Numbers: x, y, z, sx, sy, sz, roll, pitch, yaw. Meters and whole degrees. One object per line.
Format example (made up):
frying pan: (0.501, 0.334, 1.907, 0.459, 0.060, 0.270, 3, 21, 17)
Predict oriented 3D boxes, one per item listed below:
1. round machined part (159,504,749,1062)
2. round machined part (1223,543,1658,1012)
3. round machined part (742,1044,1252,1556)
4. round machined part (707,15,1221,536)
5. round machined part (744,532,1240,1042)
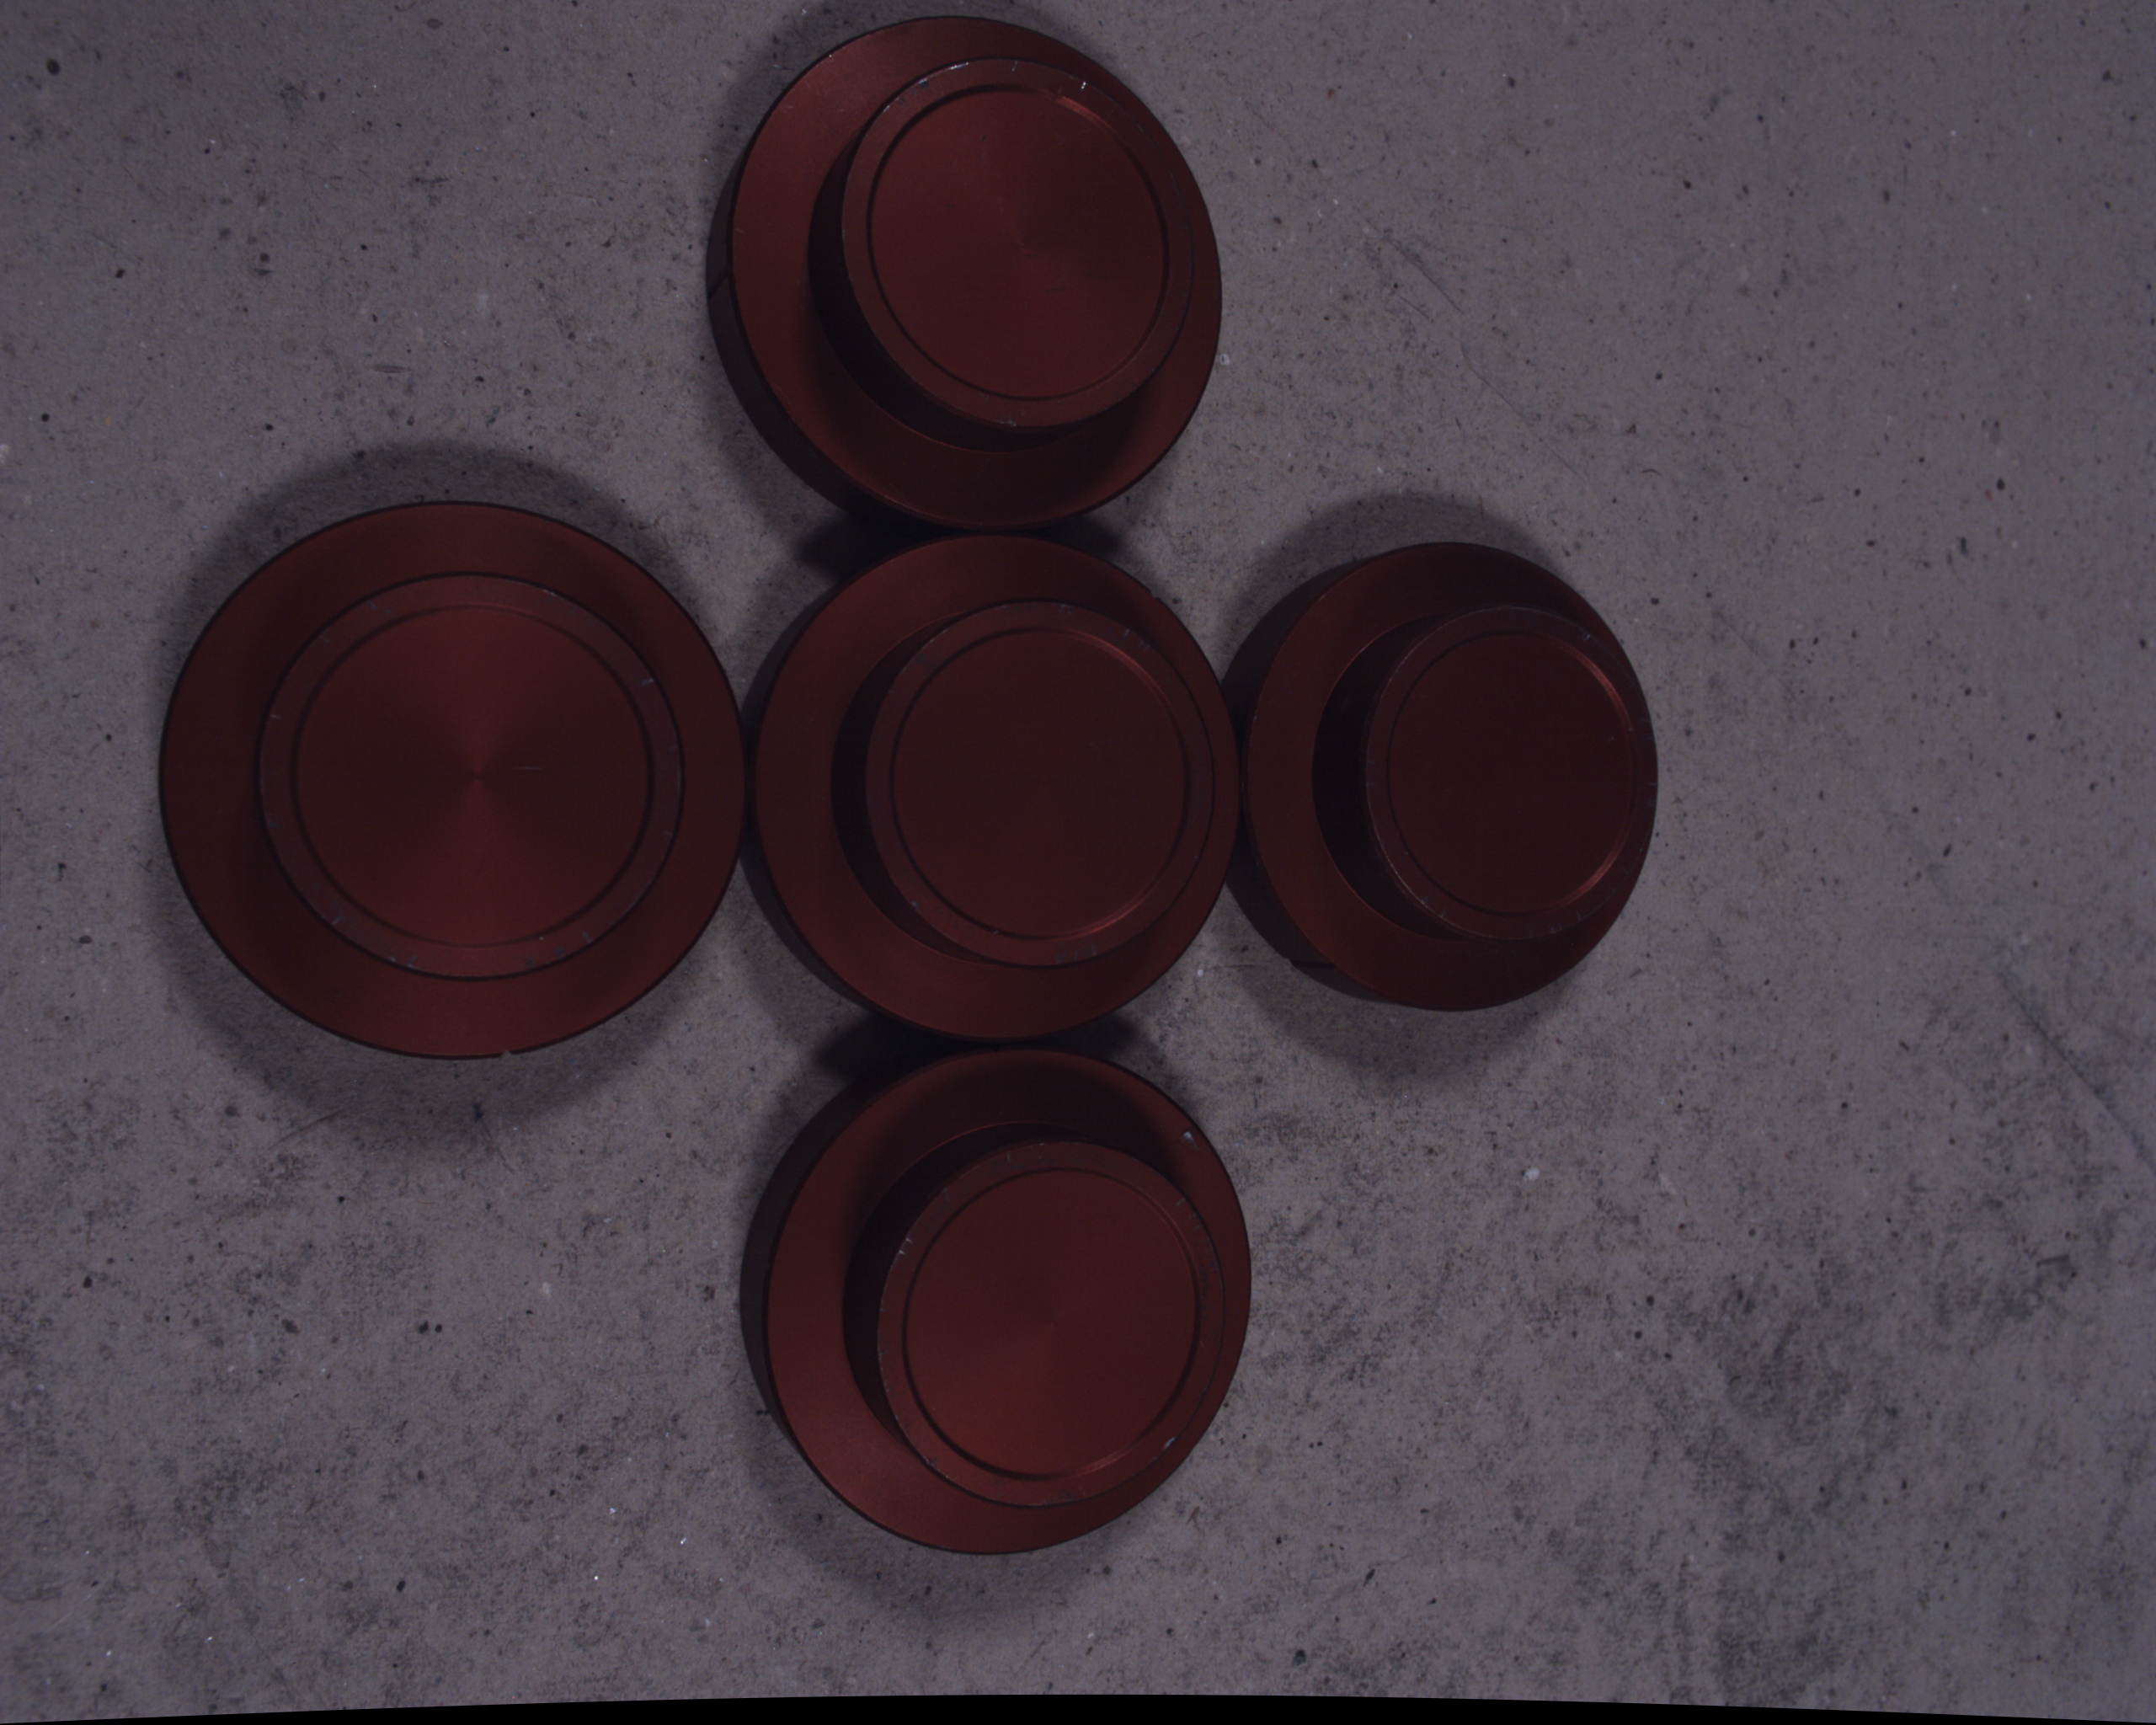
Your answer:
round machined part: (-0.106, -0.014, 0.363, 0.099, 0.042, 0.097, 0, 90, -21)
round machined part: (0.079, -0.018, 0.432, 0.099, 0.042, 0.097, 0, 90, -21)
round machined part: (-0.011, 0.084, 0.398, 0.099, 0.042, 0.097, 0, 90, -21)
round machined part: (-0.017, -0.112, 0.396, 0.099, 0.042, 0.097, 0, 90, -21)
round machined part: (-0.013, -0.014, 0.397, 0.099, 0.042, 0.097, 0, 90, -21)
